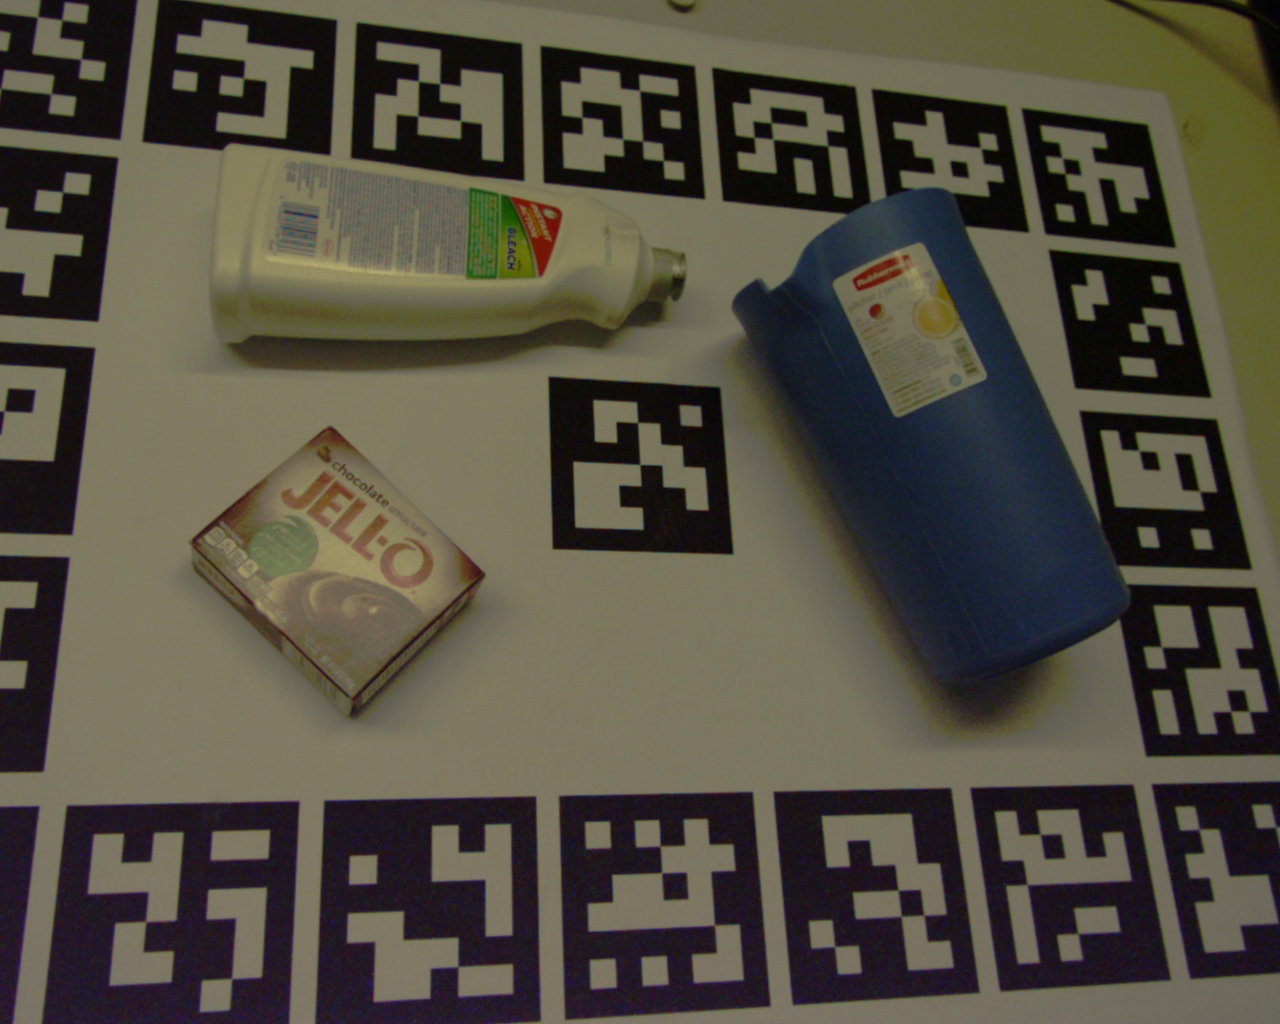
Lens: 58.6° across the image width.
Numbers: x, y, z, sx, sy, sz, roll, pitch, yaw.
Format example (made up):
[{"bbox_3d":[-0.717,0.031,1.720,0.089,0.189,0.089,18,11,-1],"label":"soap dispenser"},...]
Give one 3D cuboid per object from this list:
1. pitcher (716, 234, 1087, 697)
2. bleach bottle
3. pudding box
[{"bbox_3d":[0.157,-0.026,0.661,0.186,0.135,0.243,-16,79,-54],"label":"pitcher"},{"bbox_3d":[-0.103,-0.131,0.651,0.249,0.068,0.103,0,76,-16],"label":"bleach bottle"},{"bbox_3d":[-0.154,0.034,0.588,0.114,0.039,0.089,45,61,2],"label":"pudding box"}]
